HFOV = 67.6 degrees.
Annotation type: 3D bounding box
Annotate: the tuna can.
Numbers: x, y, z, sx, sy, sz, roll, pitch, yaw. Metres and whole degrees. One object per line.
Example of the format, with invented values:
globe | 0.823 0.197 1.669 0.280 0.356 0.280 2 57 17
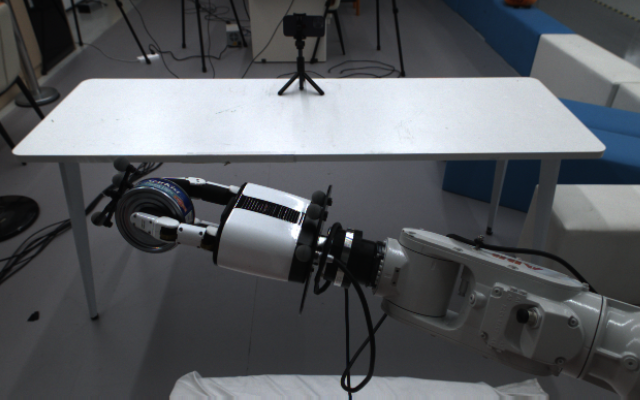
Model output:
tuna can | -0.191 0.023 0.568 0.085 0.085 0.034 4 22 2
